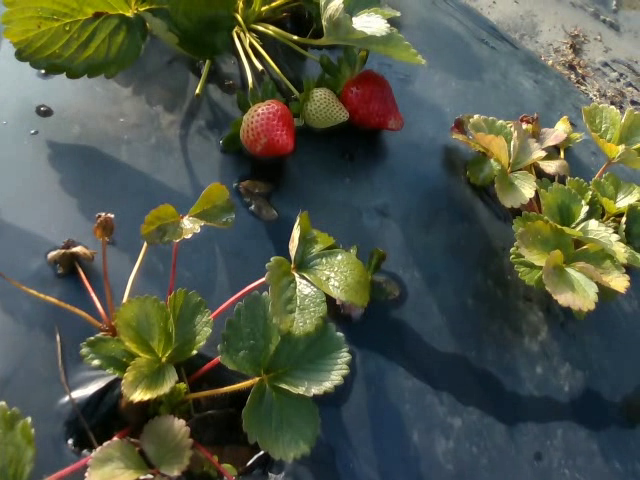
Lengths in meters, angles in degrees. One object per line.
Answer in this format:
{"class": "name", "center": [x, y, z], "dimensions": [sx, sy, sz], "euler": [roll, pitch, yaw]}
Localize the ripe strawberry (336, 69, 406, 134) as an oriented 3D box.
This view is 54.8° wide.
{"class": "ripe strawberry", "center": [0.045, -0.105, 0.481], "dimensions": [0.048, 0.065, 0.050], "euler": [-41, -6, 8]}
